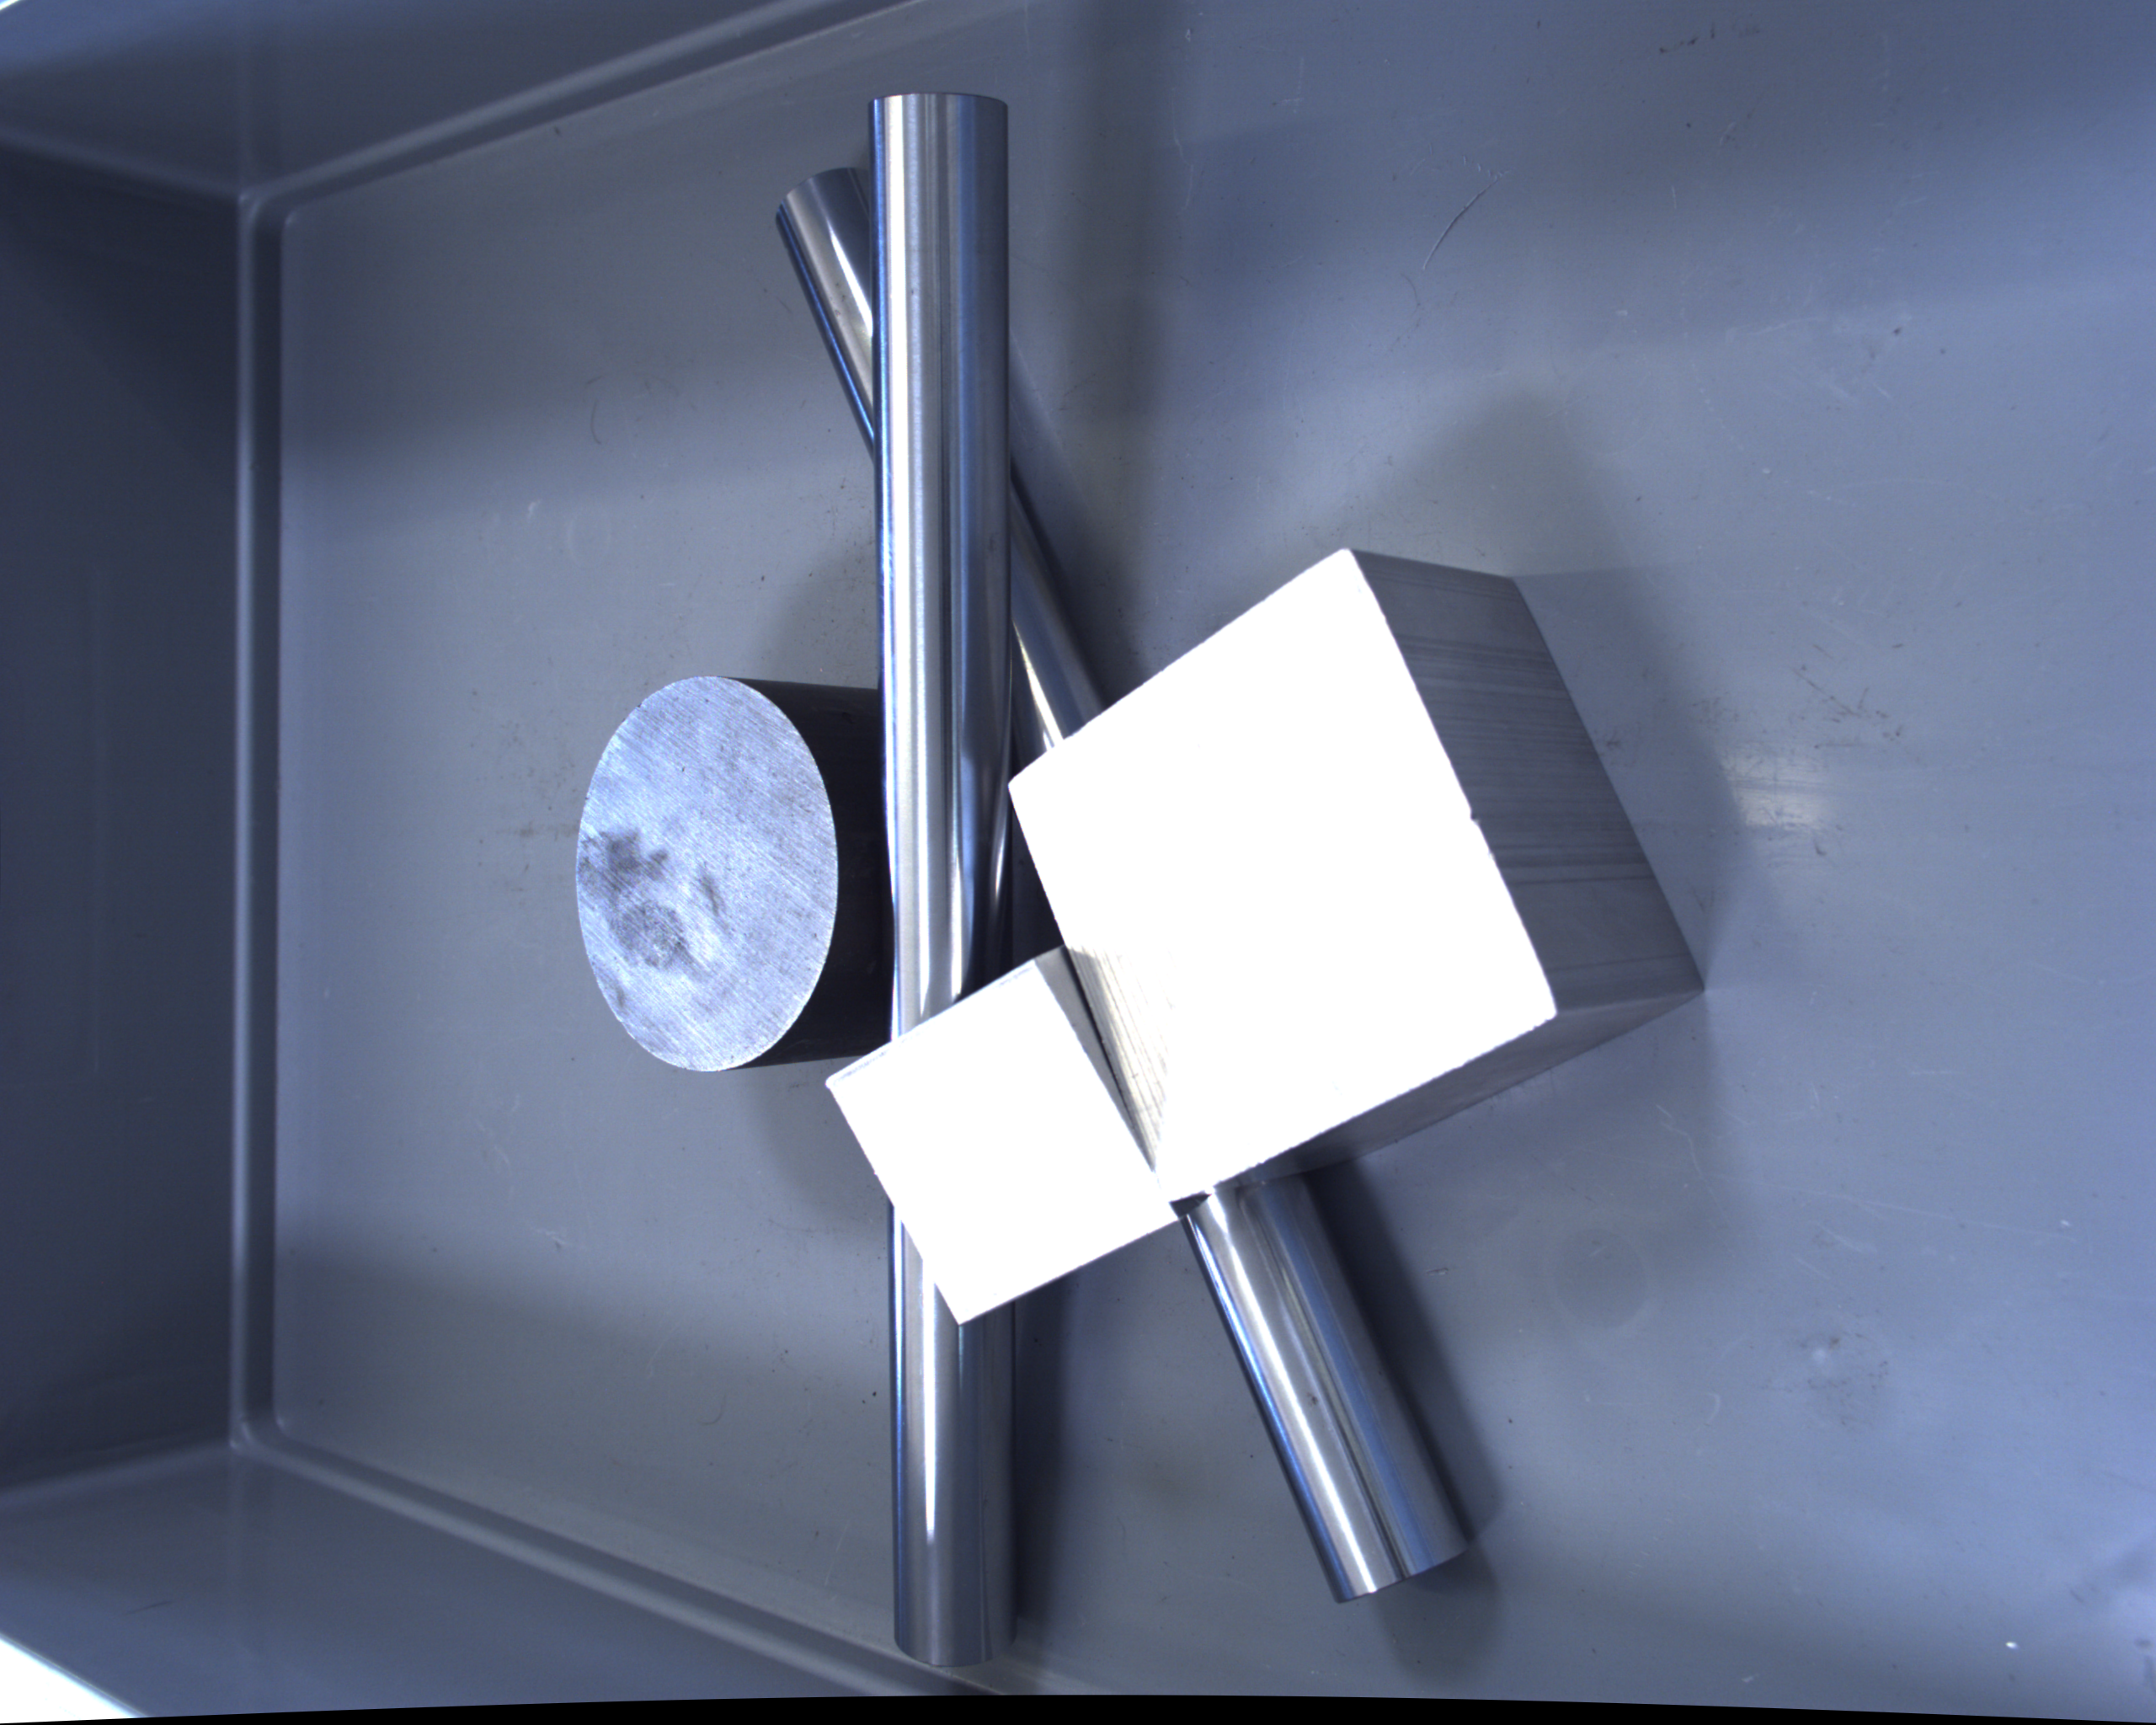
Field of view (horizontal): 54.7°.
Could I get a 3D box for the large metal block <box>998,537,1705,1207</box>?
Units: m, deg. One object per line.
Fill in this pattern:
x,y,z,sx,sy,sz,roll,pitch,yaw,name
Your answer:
0.044,0.003,0.352,0.080,0.050,0.080,-34,69,35,large metal block

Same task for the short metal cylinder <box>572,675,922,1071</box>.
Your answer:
-0.061,0.002,0.439,0.080,0.050,0.079,0,90,39,short metal cylinder

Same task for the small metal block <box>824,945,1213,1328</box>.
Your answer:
-0.009,0.047,0.370,0.050,0.025,0.050,-32,85,27,small metal block

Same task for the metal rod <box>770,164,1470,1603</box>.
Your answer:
0.001,-0.009,0.403,0.025,0.025,0.299,-35,69,34,metal rod

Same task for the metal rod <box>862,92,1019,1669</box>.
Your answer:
-0.025,0.011,0.400,0.025,0.025,0.298,8,103,39,metal rod
